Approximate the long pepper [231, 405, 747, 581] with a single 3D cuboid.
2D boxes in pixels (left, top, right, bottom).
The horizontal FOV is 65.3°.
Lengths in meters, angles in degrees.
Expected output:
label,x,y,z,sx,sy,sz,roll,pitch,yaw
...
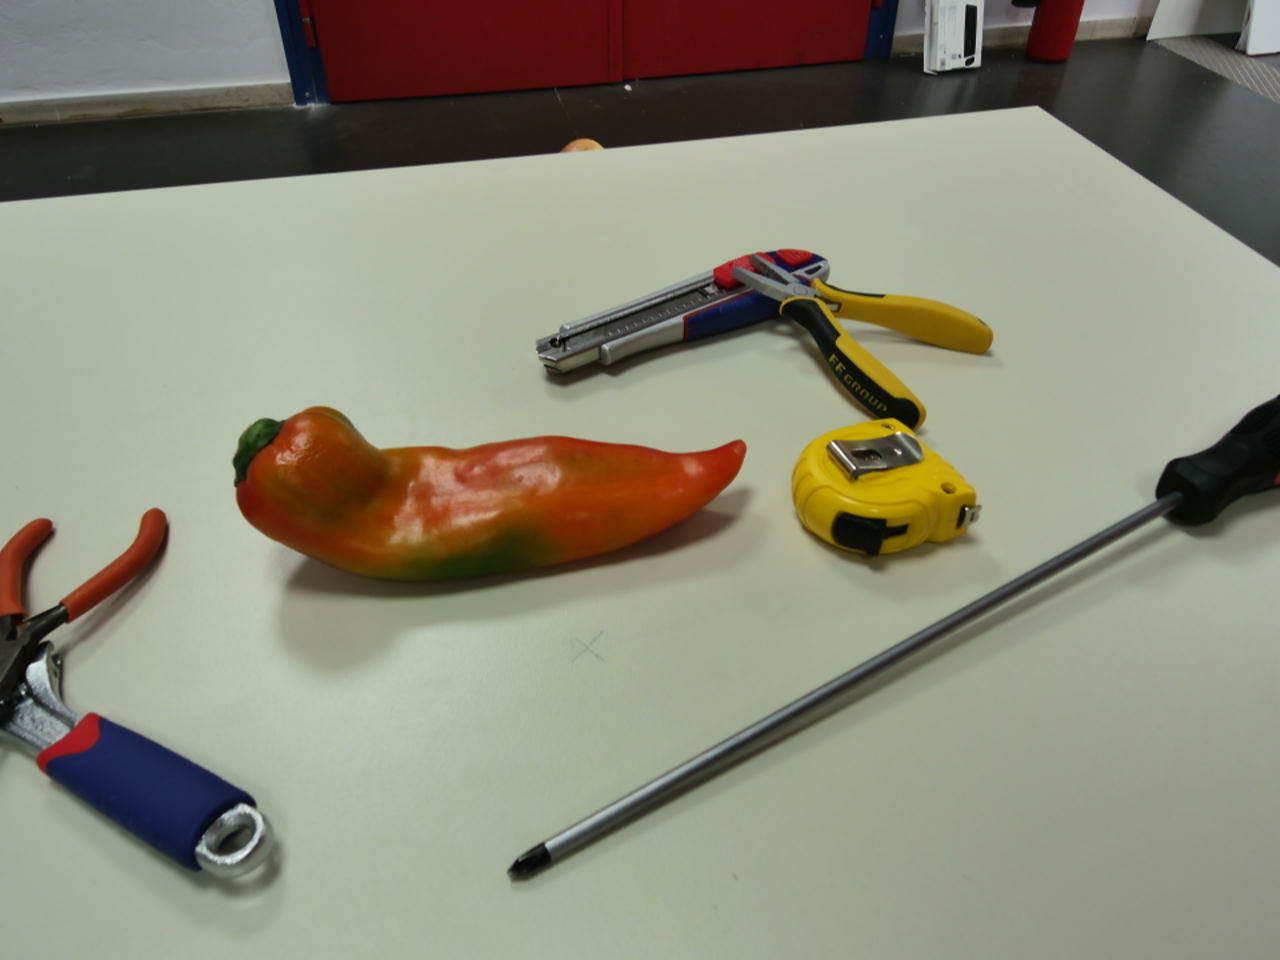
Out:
label,x,y,z,sx,sy,sz,roll,pitch,yaw
long pepper,-0.053,-0.003,0.393,0.199,0.065,0.066,-5,39,-7
